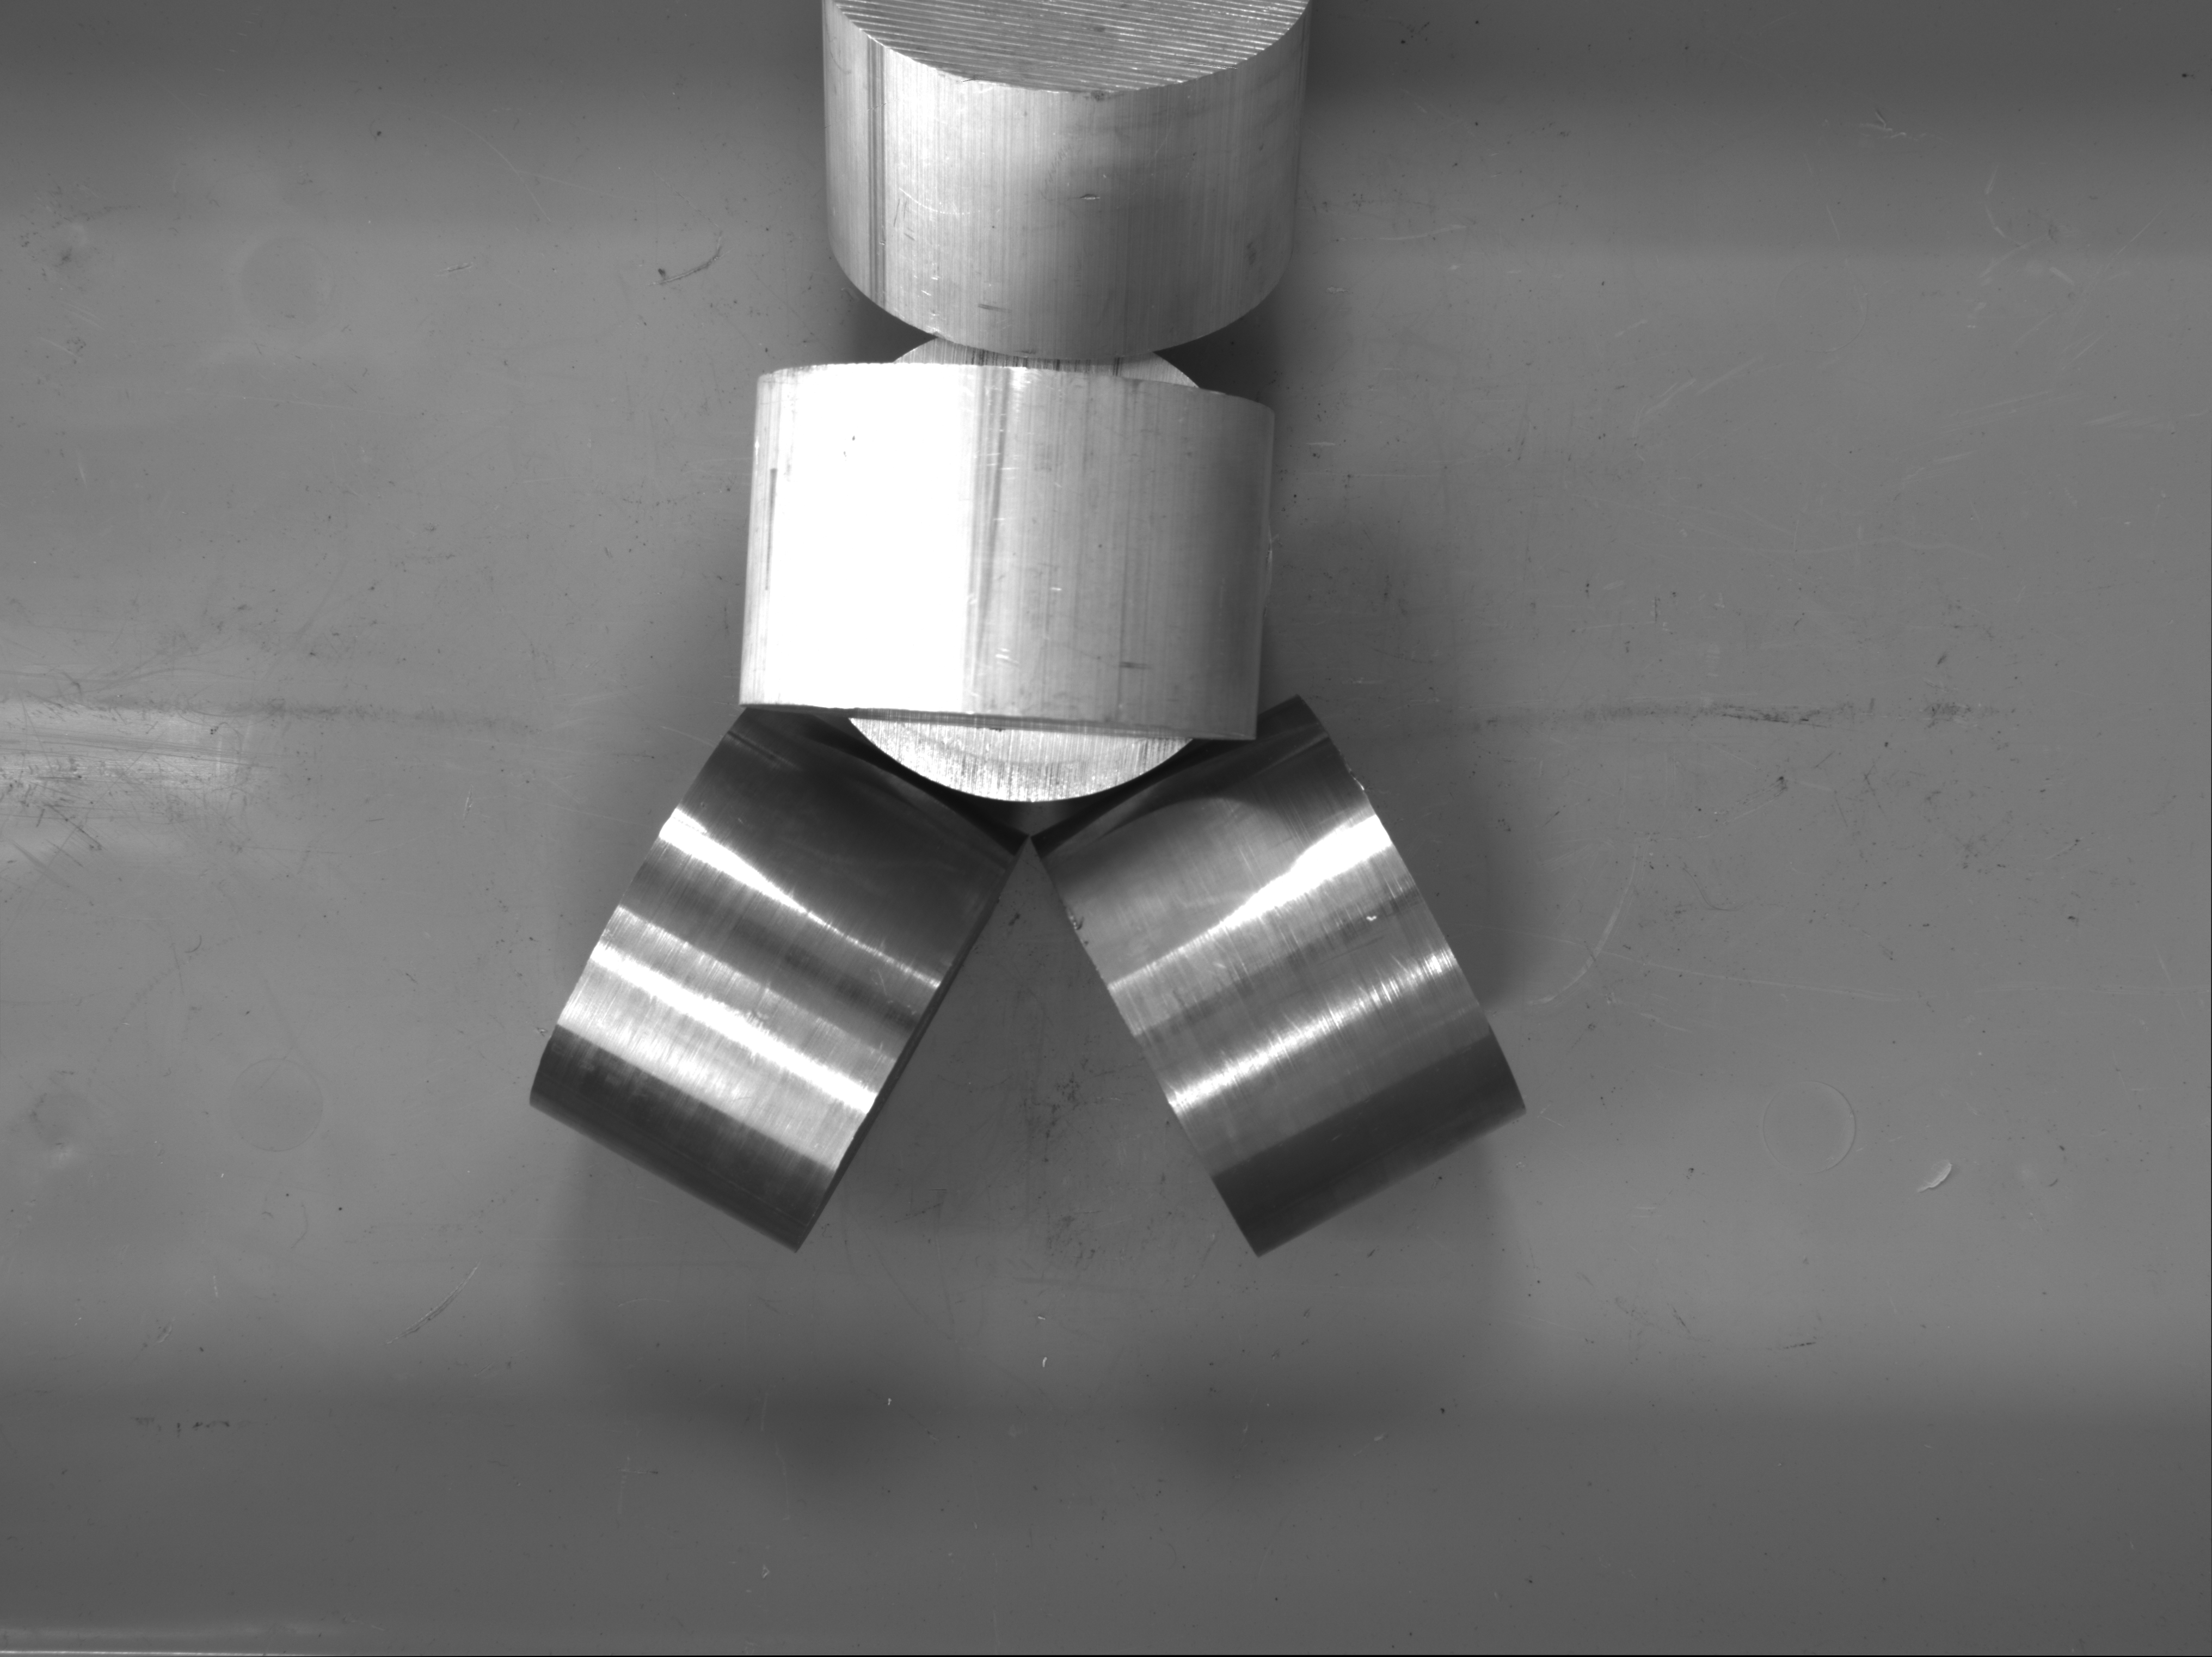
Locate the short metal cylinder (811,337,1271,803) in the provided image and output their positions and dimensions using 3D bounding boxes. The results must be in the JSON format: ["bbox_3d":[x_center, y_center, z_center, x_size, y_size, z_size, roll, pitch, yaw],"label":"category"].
[{"bbox_3d":[-0.013,-0.044,0.630,0.080,0.050,0.080,0,90,0],"label":"short metal cylinder"}]

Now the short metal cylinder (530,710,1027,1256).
[{"bbox_3d":[-0.054,0.024,0.616,0.050,0.080,0.080,29,90,1],"label":"short metal cylinder"}]

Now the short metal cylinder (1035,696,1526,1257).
[{"bbox_3d":[0.029,0.025,0.617,0.050,0.080,0.080,-29,90,1],"label":"short metal cylinder"}]

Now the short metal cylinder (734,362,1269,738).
[{"bbox_3d":[-0.016,-0.041,0.566,0.080,0.080,0.050,3,90,0],"label":"short metal cylinder"}]

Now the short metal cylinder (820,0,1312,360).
[{"bbox_3d":[-0.007,-0.122,0.610,0.080,0.080,0.050,4,132,0],"label":"short metal cylinder"}]
